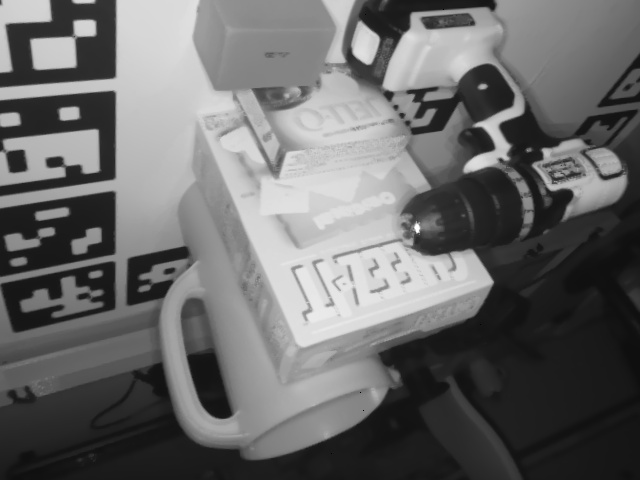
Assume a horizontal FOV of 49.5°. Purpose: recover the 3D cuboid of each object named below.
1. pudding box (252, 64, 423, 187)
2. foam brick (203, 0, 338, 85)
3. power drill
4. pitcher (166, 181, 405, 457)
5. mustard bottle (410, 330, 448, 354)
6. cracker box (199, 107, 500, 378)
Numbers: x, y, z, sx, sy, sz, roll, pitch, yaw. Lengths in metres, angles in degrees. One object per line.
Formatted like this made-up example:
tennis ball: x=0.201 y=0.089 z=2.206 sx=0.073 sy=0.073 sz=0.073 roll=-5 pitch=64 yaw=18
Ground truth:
pudding box: x=0.014 y=-0.092 z=0.548 sx=0.115 sy=0.090 sz=0.038 roll=-12 pitch=147 yaw=-27
foam brick: x=-0.036 y=-0.148 z=0.493 sx=0.079 sy=0.051 sz=0.052 roll=-8 pitch=142 yaw=-26
power drill: x=0.109 y=-0.087 z=0.492 sx=0.187 sy=0.187 sz=0.056 roll=-10 pitch=148 yaw=-23
pitcher: x=-0.047 y=0.055 z=0.605 sx=0.192 sy=0.242 sz=0.131 roll=-7 pitch=144 yaw=-30
mustard bottle: x=0.070 y=0.025 z=0.667 sx=0.098 sy=0.191 sz=0.057 roll=-1 pitch=139 yaw=-35
cracker box: x=0.016 y=-0.020 z=0.552 sx=0.166 sy=0.213 sz=0.071 roll=-13 pitch=148 yaw=-24
